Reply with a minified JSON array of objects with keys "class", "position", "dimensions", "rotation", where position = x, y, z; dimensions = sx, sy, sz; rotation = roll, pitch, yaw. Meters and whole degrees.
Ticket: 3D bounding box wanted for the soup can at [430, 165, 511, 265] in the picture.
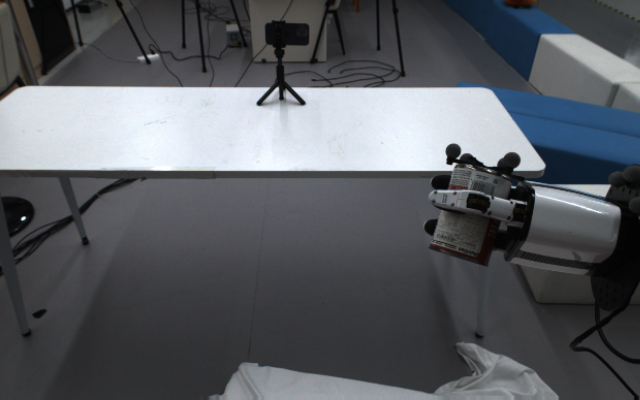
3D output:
[{"class":"soup can","position":[0.173,0.016,0.554],"dimensions":[0.067,0.101,0.067],"rotation":[17,-1,0]}]
